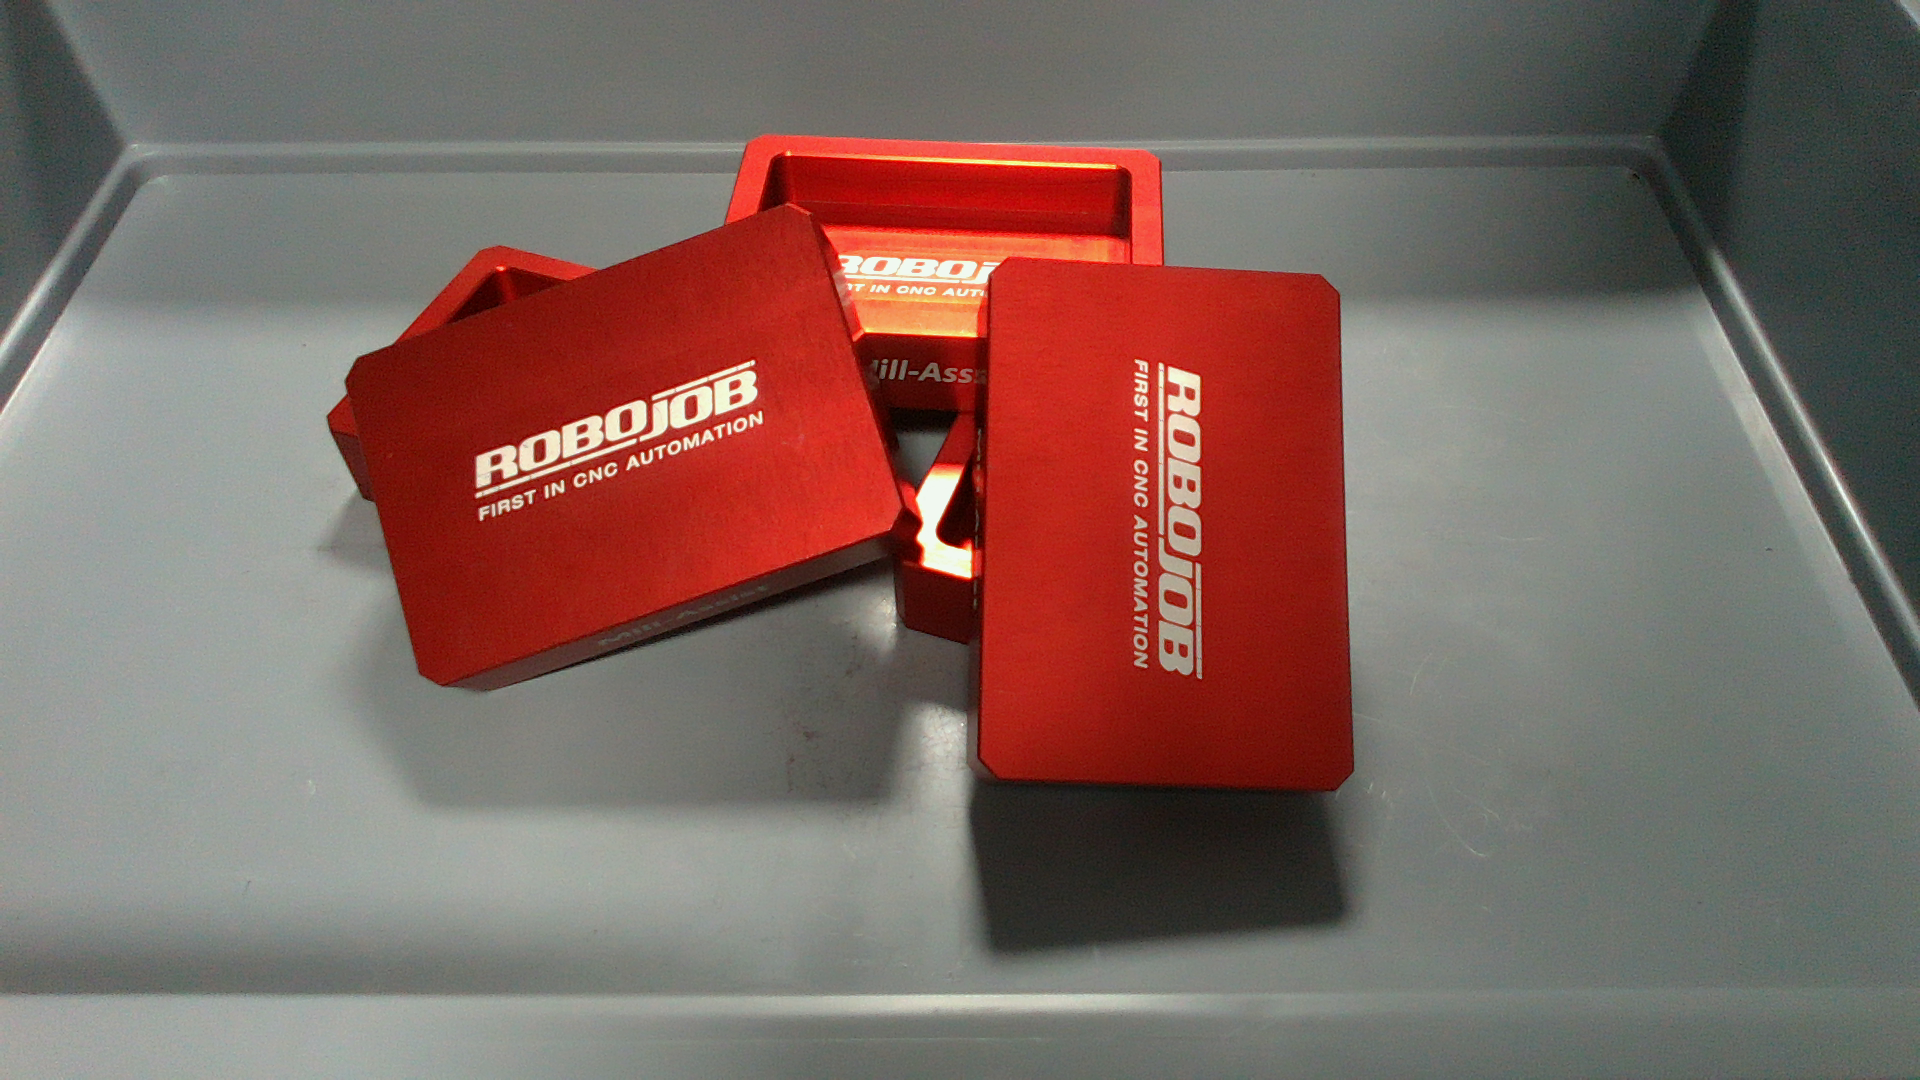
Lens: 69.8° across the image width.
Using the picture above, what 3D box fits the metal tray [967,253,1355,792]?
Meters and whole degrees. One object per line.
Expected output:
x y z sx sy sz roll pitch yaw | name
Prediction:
0.049 -0.003 0.348 0.090 0.030 0.130 2 78 -5 | metal tray

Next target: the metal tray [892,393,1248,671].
0.044 -0.021 0.405 0.090 0.030 0.130 15 51 12 | metal tray

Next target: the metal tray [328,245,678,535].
-0.108 -0.039 0.418 0.130 0.030 0.090 15 52 13 | metal tray

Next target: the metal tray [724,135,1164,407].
-0.005 -0.082 0.416 0.130 0.030 0.090 3 50 2 | metal tray

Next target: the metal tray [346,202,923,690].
-0.085 -0.023 0.361 0.130 0.030 0.090 -19 80 4 | metal tray
